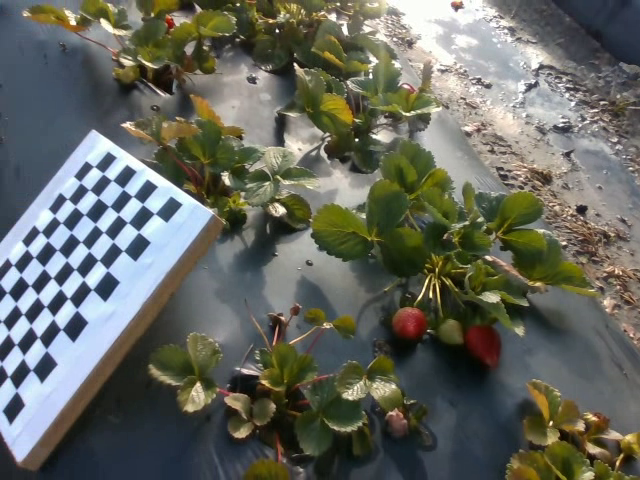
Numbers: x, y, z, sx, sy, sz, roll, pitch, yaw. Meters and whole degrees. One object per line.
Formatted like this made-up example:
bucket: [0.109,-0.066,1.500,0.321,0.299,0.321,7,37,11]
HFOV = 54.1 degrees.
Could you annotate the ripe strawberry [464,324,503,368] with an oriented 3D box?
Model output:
ripe strawberry: [0.200,0.127,0.755,0.048,0.065,0.050,-21,-42,19]
